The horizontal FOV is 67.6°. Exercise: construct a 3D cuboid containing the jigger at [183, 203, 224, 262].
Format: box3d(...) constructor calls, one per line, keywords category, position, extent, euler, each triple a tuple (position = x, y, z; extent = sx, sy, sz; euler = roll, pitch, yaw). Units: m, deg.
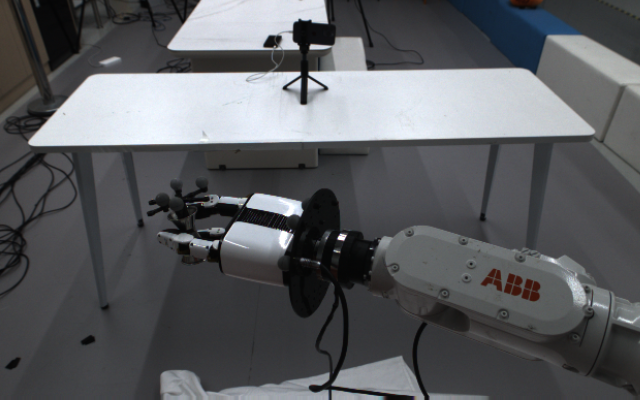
box3d(category="jigger", position=(-0.172, 0.046, 0.653), extent=(0.043, 0.071, 0.043), euler=(-10, 24, 5))
